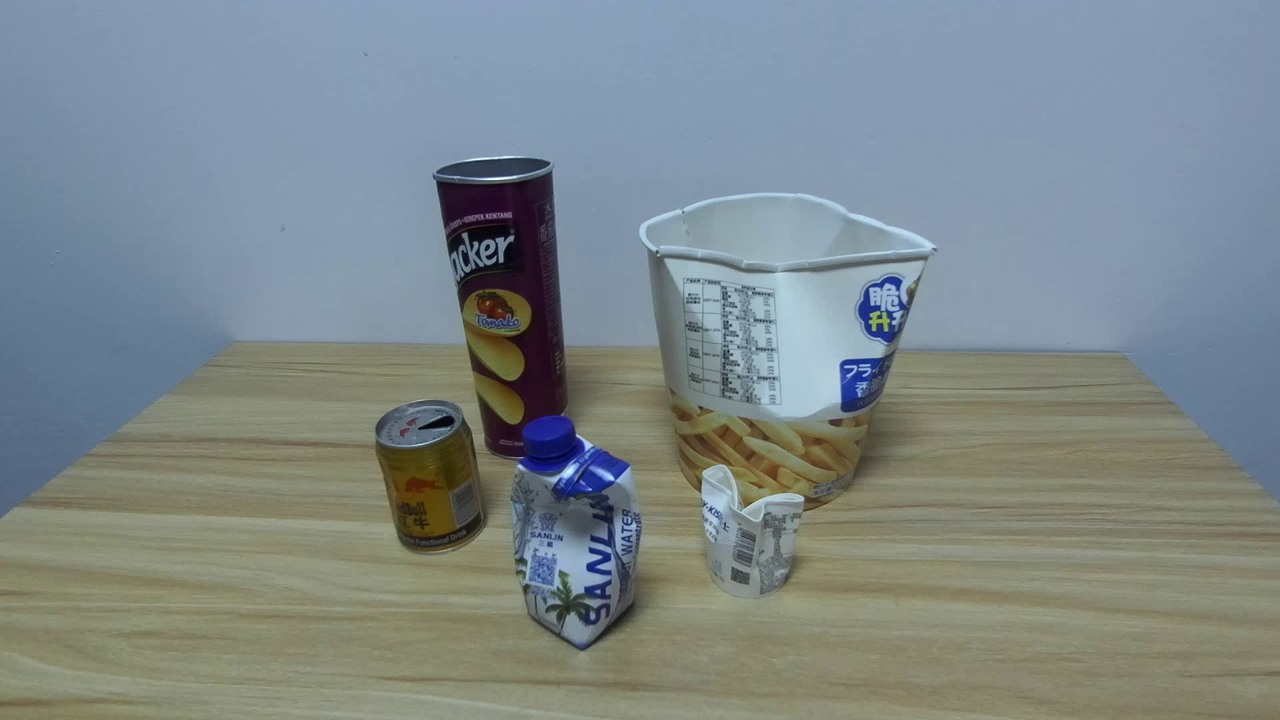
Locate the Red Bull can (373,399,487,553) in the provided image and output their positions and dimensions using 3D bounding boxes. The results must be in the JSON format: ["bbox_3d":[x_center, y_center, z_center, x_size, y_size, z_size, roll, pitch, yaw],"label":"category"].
[{"bbox_3d":[-0.149,0.083,0.506,0.068,0.093,0.068,-2,27,1],"label":"Red Bull can"}]

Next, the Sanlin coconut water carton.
[{"bbox_3d":[-0.038,0.103,0.408,0.068,0.145,0.057,26,46,30],"label":"Sanlin coconut water carton"}]

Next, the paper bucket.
[{"bbox_3d":[0.091,-0.004,0.532,0.163,0.202,0.168,-15,28,-20],"label":"paper bucket"}]

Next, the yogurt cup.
[{"bbox_3d":[0.070,0.108,0.454,0.055,0.072,0.054,-18,35,-18],"label":"yogurt cup"}]

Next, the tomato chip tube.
[{"bbox_3d":[-0.101,-0.037,0.567,0.080,0.234,0.077,21,35,37],"label":"tomato chip tube"}]
